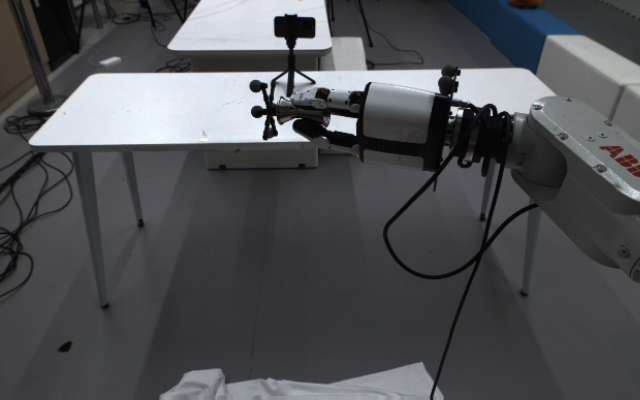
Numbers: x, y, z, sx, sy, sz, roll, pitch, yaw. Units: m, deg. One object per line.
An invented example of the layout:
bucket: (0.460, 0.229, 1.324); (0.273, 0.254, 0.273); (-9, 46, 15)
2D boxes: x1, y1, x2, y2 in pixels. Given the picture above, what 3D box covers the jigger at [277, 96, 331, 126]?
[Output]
jigger: (-0.016, -0.129, 0.679); (0.071, 0.043, 0.043); (3, 34, 14)
